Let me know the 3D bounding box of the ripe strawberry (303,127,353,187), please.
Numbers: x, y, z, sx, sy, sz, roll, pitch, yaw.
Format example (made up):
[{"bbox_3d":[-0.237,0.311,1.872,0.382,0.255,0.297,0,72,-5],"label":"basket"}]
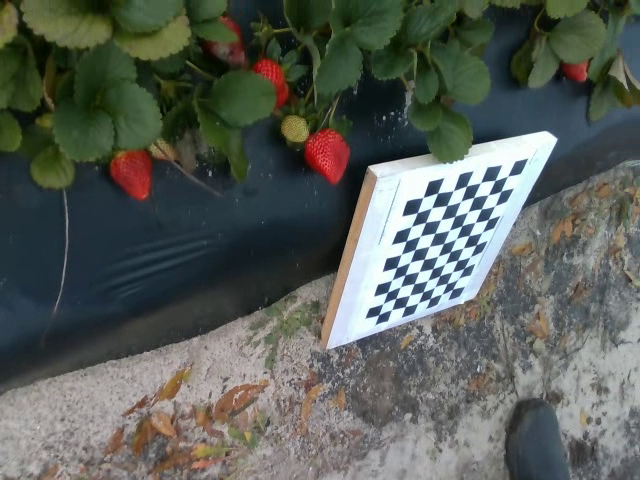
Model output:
[{"bbox_3d":[0.010,-0.080,0.660,0.057,0.065,0.056,-25,-32,12],"label":"ripe strawberry"}]

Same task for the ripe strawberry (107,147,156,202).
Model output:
[{"bbox_3d":[-0.160,-0.057,0.559,0.043,0.052,0.041,-24,7,-12],"label":"ripe strawberry"}]
